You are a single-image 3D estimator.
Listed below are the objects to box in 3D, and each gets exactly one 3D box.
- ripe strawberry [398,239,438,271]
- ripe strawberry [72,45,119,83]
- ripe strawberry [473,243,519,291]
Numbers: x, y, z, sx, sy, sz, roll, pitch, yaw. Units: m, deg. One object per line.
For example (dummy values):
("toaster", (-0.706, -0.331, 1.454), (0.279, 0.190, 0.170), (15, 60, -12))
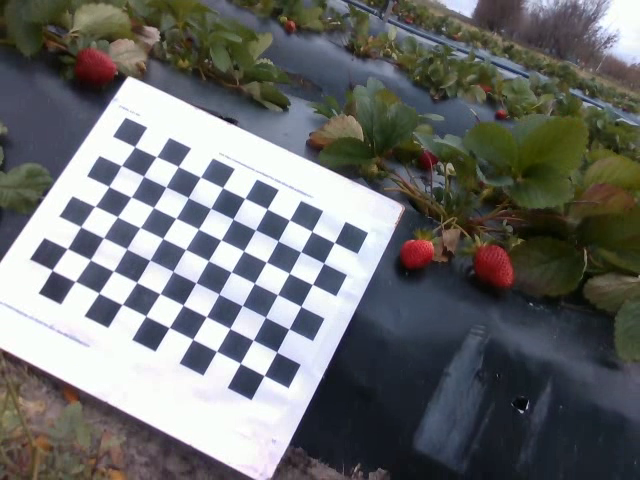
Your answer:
("ripe strawberry", (0.093, 0.011, 0.617), (0.036, 0.041, 0.028), (22, -37, 14))
("ripe strawberry", (-0.250, -0.201, 0.728), (0.064, 0.046, 0.049), (23, -15, 39))
("ripe strawberry", (0.171, 0.025, 0.630), (0.044, 0.059, 0.042), (-23, -39, 0))
